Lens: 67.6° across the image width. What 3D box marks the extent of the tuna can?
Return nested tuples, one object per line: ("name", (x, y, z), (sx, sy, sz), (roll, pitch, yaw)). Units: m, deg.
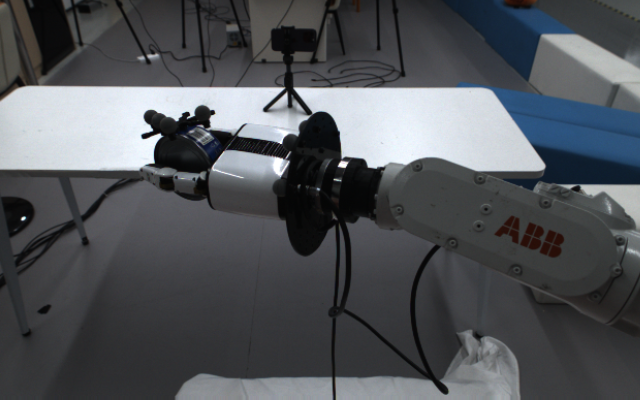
("tuna can", (-0.150, -0.044, 0.575), (0.085, 0.085, 0.034), (17, 35, 20))
